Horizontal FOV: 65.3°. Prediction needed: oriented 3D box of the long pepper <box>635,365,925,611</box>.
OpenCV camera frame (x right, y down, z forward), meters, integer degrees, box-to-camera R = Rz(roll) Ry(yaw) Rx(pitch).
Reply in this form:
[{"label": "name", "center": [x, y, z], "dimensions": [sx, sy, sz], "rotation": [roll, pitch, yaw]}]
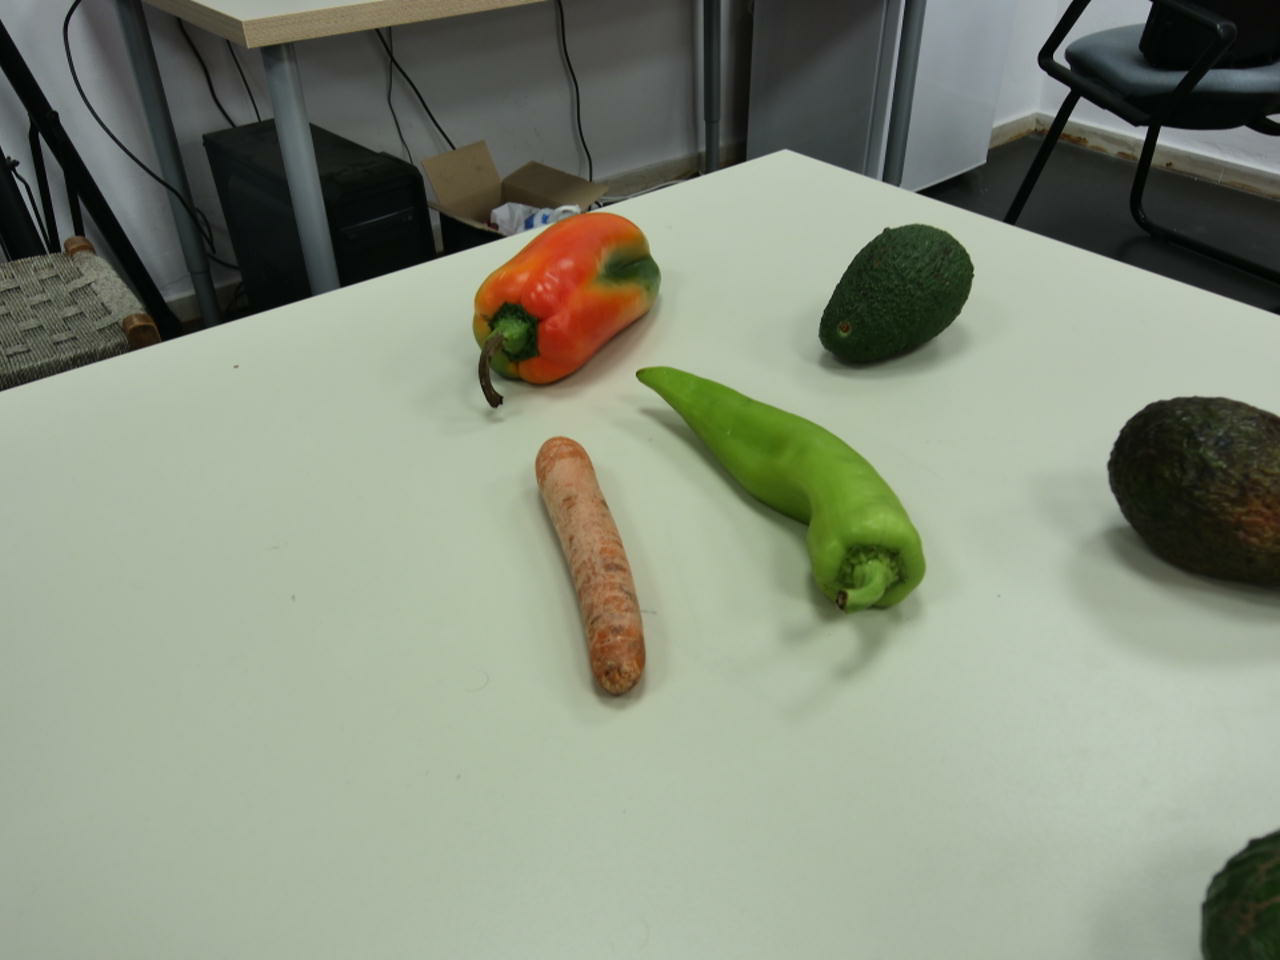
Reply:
[{"label": "long pepper", "center": [0.064, -0.007, 0.453], "dimensions": [0.065, 0.045, 0.204], "rotation": [-13, 37, -17]}]
